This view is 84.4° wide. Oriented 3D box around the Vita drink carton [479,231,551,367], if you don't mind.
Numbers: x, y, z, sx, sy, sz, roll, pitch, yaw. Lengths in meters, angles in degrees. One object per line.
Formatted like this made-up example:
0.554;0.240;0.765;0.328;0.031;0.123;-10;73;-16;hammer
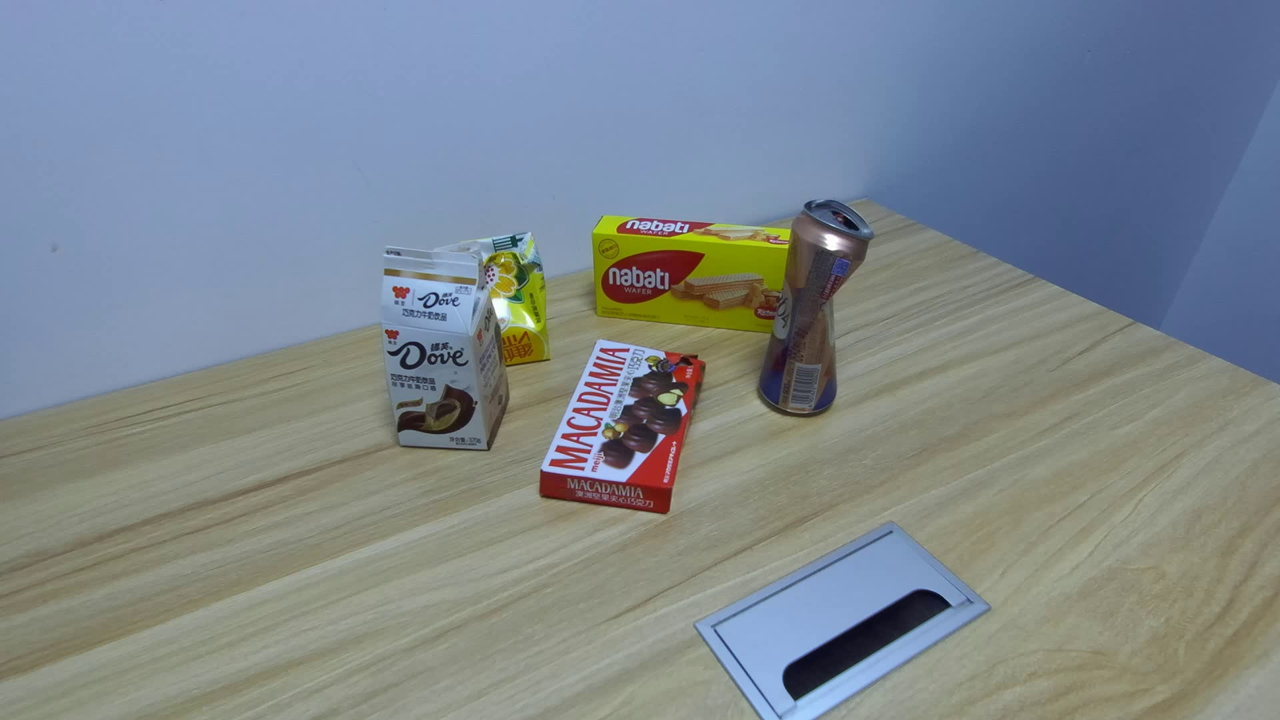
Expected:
-0.119;-0.051;0.630;0.071;0.110;0.046;-9;31;-10;Vita drink carton

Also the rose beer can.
0.137;-0.037;0.556;0.070;0.168;0.069;-17;38;-31;rose beer can

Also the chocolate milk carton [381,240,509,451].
-0.152;-0.014;0.538;0.084;0.155;0.073;1;34;6;chocolate milk carton

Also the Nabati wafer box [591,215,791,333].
0.056;-0.081;0.682;0.202;0.093;0.042;6;34;9;Nabati wafer box

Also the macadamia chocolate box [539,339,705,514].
-0.006;0.042;0.563;0.102;0.027;0.186;8;36;7;macadamia chocolate box
